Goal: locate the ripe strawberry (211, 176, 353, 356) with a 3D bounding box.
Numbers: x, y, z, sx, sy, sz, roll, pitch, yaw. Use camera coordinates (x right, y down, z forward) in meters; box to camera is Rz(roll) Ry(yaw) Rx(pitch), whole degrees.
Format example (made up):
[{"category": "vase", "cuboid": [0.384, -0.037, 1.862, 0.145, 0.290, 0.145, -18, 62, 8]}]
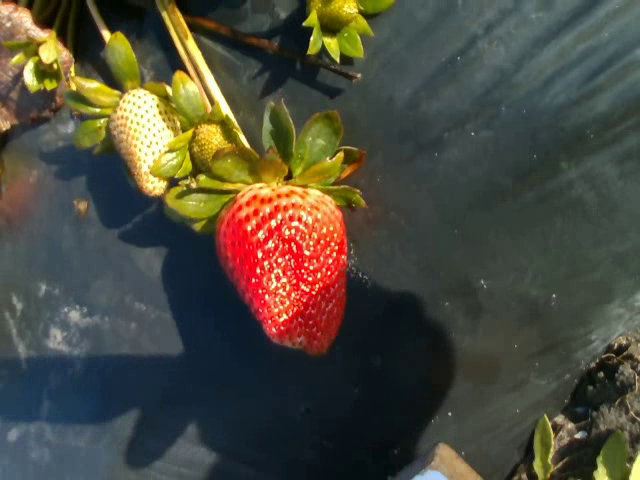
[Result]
[{"category": "ripe strawberry", "cuboid": [-0.008, 0.010, 0.187, 0.042, 0.059, 0.042, -23, -12, 14]}]
